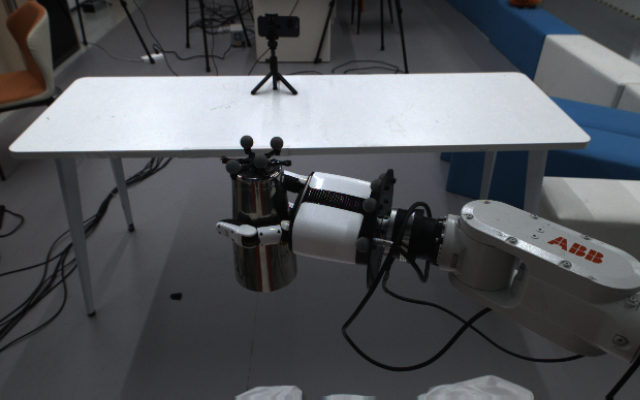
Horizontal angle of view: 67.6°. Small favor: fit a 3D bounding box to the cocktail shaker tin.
[{"bbox_3d":[-0.077,0.030,0.660,0.093,0.170,0.093,0,33,0],"label":"cocktail shaker tin"}]
